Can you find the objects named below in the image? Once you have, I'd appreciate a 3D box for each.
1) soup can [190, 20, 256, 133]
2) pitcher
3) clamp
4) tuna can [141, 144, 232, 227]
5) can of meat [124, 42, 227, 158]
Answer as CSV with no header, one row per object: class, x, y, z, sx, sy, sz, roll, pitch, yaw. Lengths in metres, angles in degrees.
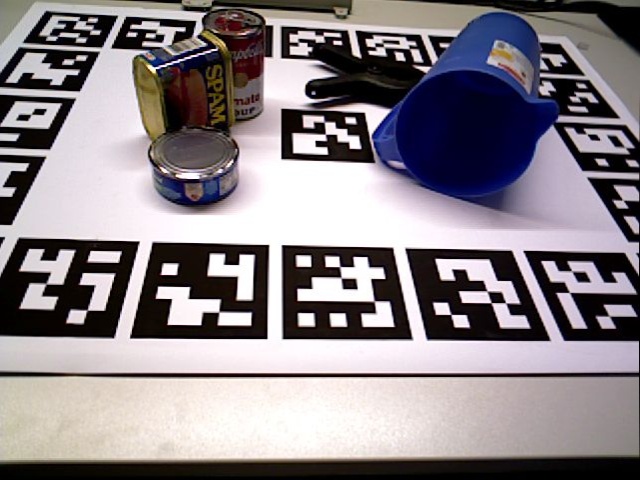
soup can,-0.106,-0.181,0.609,0.067,0.104,0.067,1,48,-2
pitcher,0.166,-0.151,0.581,0.190,0.135,0.237,0,34,24
clamp,0.042,-0.189,0.691,0.164,0.037,0.120,5,41,-6
tuna can,-0.128,-0.053,0.528,0.085,0.034,0.084,3,48,-4
can of meat,-0.148,-0.137,0.555,0.082,0.104,0.057,-30,57,-26
